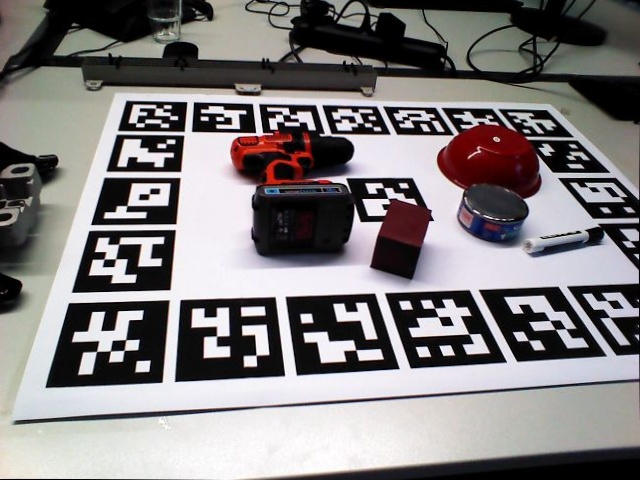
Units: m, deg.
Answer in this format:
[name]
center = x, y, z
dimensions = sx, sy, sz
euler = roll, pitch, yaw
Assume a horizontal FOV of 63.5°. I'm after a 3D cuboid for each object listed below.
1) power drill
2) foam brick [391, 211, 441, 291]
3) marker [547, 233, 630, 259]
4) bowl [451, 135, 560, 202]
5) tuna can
[power drill]
center = -0.009, -0.063, 0.669
dimensions = 0.184, 0.057, 0.186
euler = 0, 39, -13
[foam brick]
center = 0.120, 0.012, 0.608
dimensions = 0.051, 0.053, 0.077
euler = 16, 43, 8
[marker]
center = 0.345, 0.007, 0.658
dimensions = 0.121, 0.020, 0.019
euler = -8, 45, -17
[bowl]
center = 0.284, -0.116, 0.782
dimensions = 0.162, 0.055, 0.161
euler = 1, 35, -1
[tuna can]
center = 0.254, -0.030, 0.678
dimensions = 0.086, 0.034, 0.085
euler = 6, 40, -5
